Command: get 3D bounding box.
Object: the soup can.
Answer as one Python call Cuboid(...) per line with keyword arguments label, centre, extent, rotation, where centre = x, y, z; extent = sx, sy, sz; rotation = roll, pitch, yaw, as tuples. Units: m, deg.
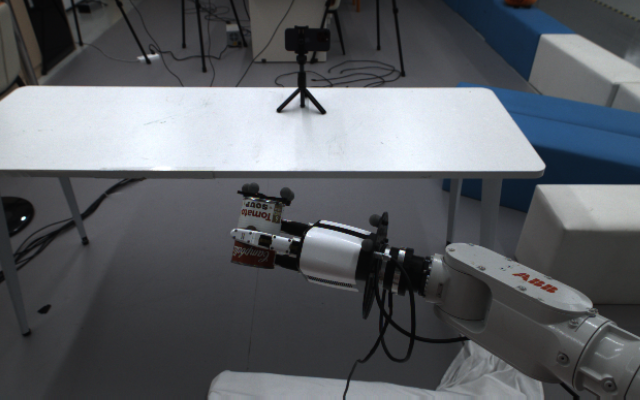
Cuboid(label="soup can", centre=(-0.094, 0.052, 0.746), extent=(0.067, 0.101, 0.067), rotation=(9, -5, 1))
